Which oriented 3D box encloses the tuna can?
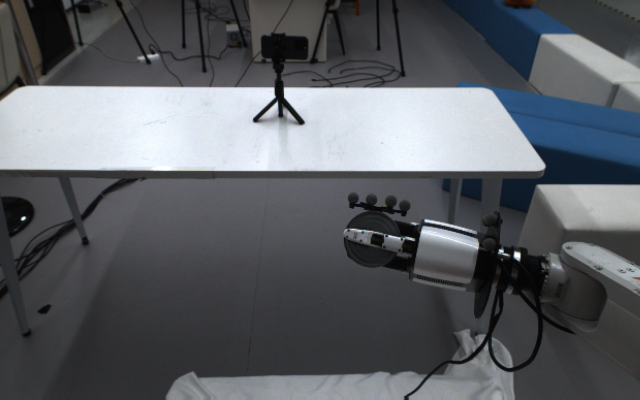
[{"bbox_3d":[0.081,0.058,0.737,0.085,0.085,0.034,11,-7,13],"label":"tuna can"}]
